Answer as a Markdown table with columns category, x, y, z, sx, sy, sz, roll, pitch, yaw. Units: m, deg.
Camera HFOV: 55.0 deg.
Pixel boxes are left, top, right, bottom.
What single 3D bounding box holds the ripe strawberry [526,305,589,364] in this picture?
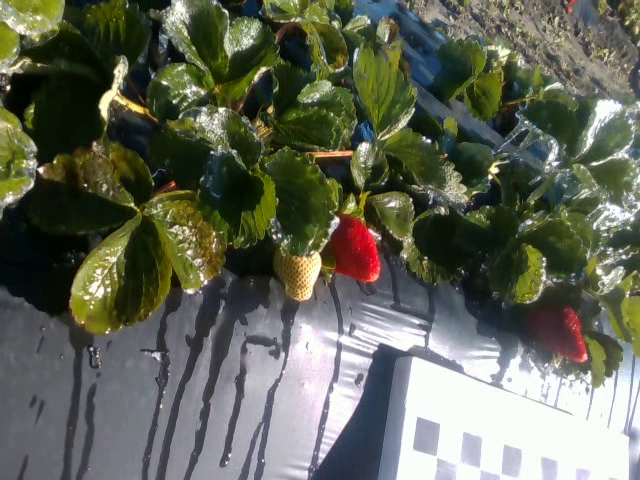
| category | x | y | z | sx | sy | sz | roll | pitch | yaw |
| --- | --- | --- | --- | --- | --- | --- | --- | --- | --- |
| ripe strawberry | 0.215 | 0.082 | 0.531 | 0.048 | 0.061 | 0.044 | 17 | -51 | -30 |

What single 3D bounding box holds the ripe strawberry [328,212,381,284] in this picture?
| category | x | y | z | sx | sy | sz | roll | pitch | yaw |
| --- | --- | --- | --- | --- | --- | --- | --- | --- | --- |
| ripe strawberry | 0.025 | 0.014 | 0.425 | 0.042 | 0.046 | 0.061 | 8 | 34 | -32 |
